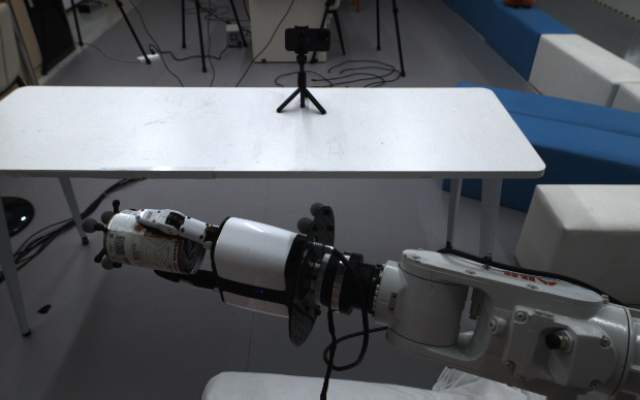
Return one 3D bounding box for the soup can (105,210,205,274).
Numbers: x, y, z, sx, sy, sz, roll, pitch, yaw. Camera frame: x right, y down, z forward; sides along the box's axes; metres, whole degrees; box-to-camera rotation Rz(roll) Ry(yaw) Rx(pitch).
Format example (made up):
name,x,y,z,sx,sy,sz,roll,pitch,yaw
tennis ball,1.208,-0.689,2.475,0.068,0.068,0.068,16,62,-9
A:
name,x,y,z,sx,sy,sz,roll,pitch,yaw
soup can,-0.196,0.052,0.589,0.101,0.067,0.067,8,35,10
